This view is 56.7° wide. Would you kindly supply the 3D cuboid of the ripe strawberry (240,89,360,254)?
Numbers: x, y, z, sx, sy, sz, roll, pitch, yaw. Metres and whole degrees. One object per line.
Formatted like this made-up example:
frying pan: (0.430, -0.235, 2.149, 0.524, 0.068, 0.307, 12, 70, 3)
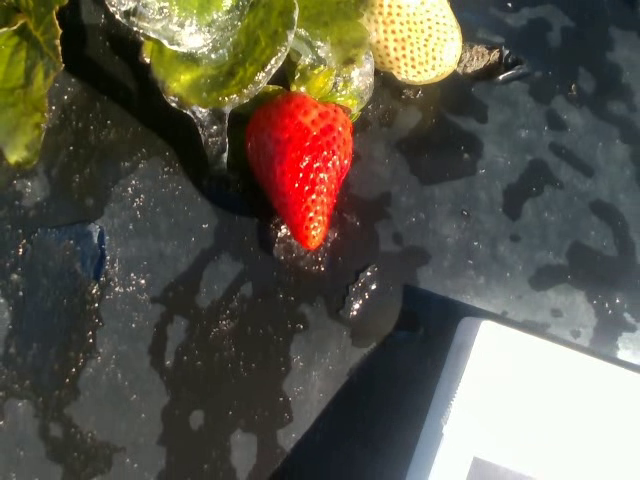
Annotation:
ripe strawberry: (-0.003, -0.022, 0.183, 0.042, 0.052, 0.040, 3, -11, -8)
